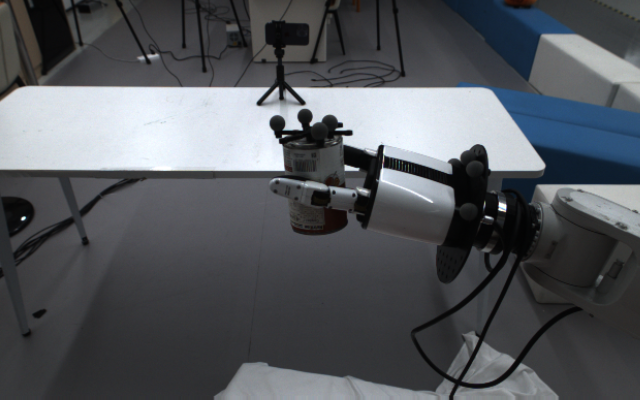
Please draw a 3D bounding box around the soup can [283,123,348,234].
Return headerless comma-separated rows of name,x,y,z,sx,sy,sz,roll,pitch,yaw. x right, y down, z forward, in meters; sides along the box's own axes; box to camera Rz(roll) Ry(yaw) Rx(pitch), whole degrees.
soup can,-0.003,-0.020,0.542,0.067,0.101,0.067,-4,21,2
